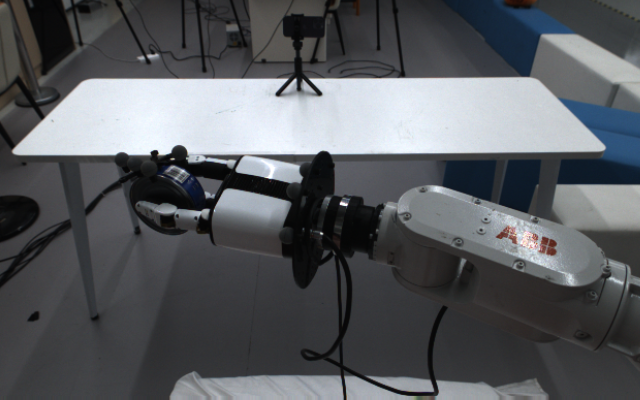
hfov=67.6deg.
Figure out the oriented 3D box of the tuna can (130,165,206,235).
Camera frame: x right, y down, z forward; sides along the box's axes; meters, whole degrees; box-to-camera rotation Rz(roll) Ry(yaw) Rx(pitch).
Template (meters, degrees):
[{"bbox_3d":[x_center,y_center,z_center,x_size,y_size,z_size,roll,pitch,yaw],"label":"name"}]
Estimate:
[{"bbox_3d":[-0.180,0.001,0.591,0.085,0.085,0.034,9,33,10],"label":"tuna can"}]
